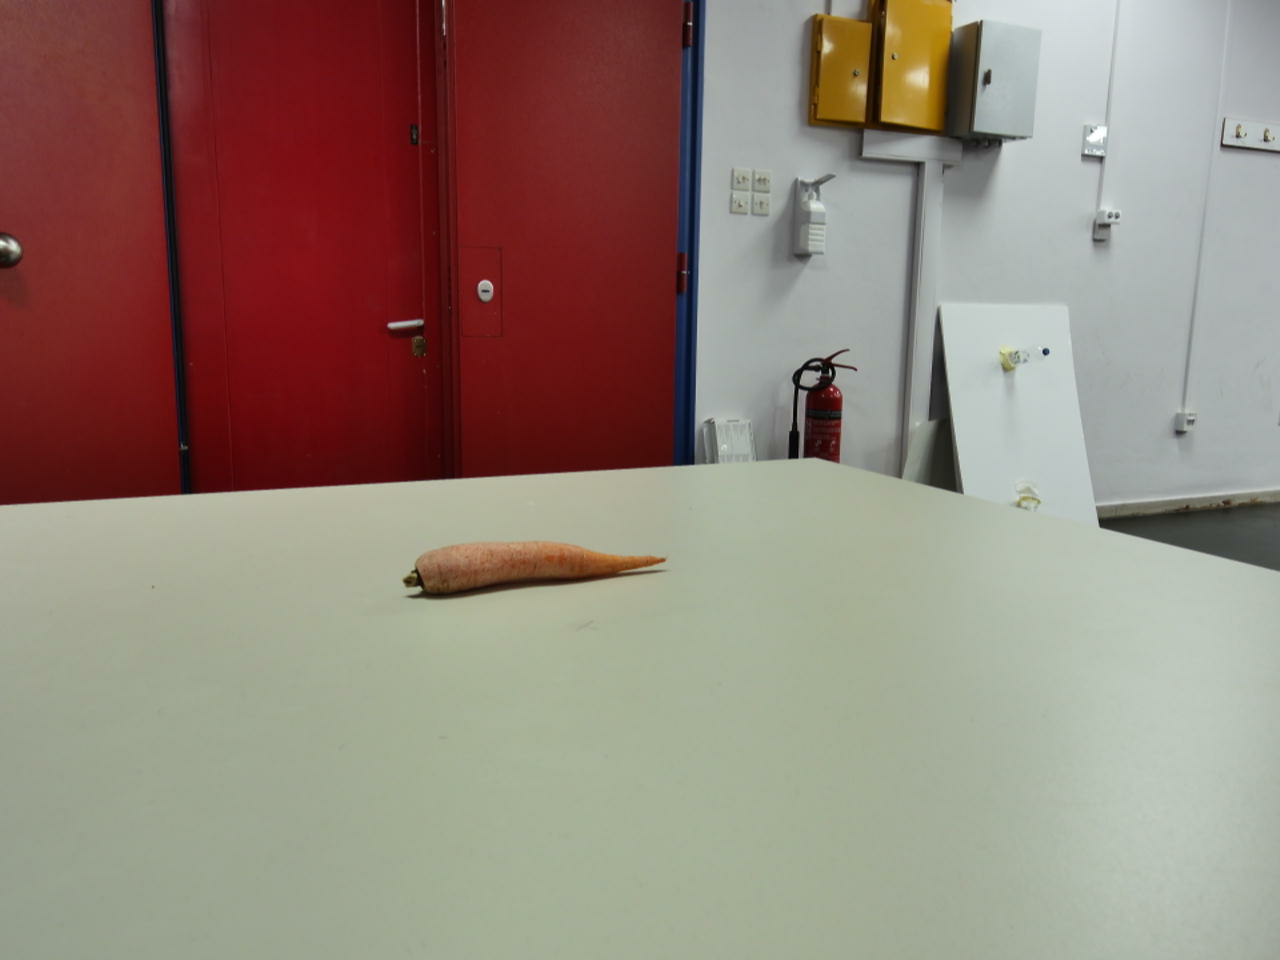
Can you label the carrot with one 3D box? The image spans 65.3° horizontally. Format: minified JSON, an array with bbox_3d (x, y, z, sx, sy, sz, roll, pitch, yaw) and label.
[{"bbox_3d":[-0.060,0.050,0.613,0.163,0.029,0.031,-3,9,-24],"label":"carrot"}]
